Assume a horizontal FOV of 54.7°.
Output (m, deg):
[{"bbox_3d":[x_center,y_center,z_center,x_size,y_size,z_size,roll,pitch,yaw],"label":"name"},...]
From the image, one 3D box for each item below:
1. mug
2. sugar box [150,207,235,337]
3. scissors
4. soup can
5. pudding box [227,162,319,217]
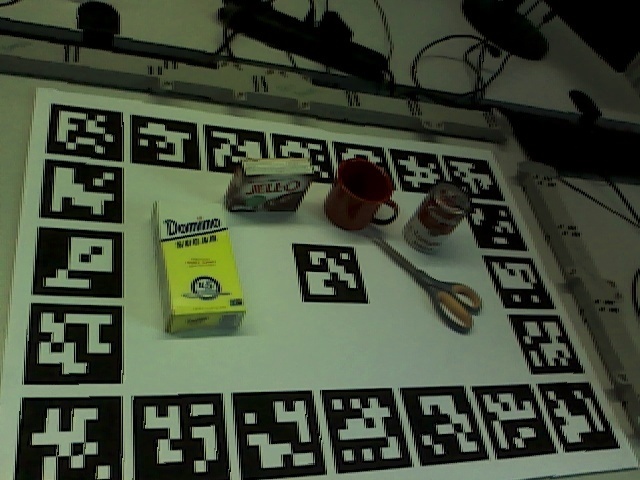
[{"bbox_3d":[0.064,-0.063,0.971,0.117,0.081,0.093,45,52,15],"label":"mug"},{"bbox_3d":[-0.171,0.038,0.818,0.092,0.045,0.177,0,56,-22],"label":"sugar box"},{"bbox_3d":[0.162,0.072,0.952,0.203,0.016,0.087,41,59,9],"label":"scissors"},{"bbox_3d":[0.178,-0.024,0.989,0.067,0.102,0.068,12,50,-15],"label":"soup can"},{"bbox_3d":[-0.071,-0.075,0.911,0.113,0.090,0.039,-5,63,-28],"label":"pudding box"}]
